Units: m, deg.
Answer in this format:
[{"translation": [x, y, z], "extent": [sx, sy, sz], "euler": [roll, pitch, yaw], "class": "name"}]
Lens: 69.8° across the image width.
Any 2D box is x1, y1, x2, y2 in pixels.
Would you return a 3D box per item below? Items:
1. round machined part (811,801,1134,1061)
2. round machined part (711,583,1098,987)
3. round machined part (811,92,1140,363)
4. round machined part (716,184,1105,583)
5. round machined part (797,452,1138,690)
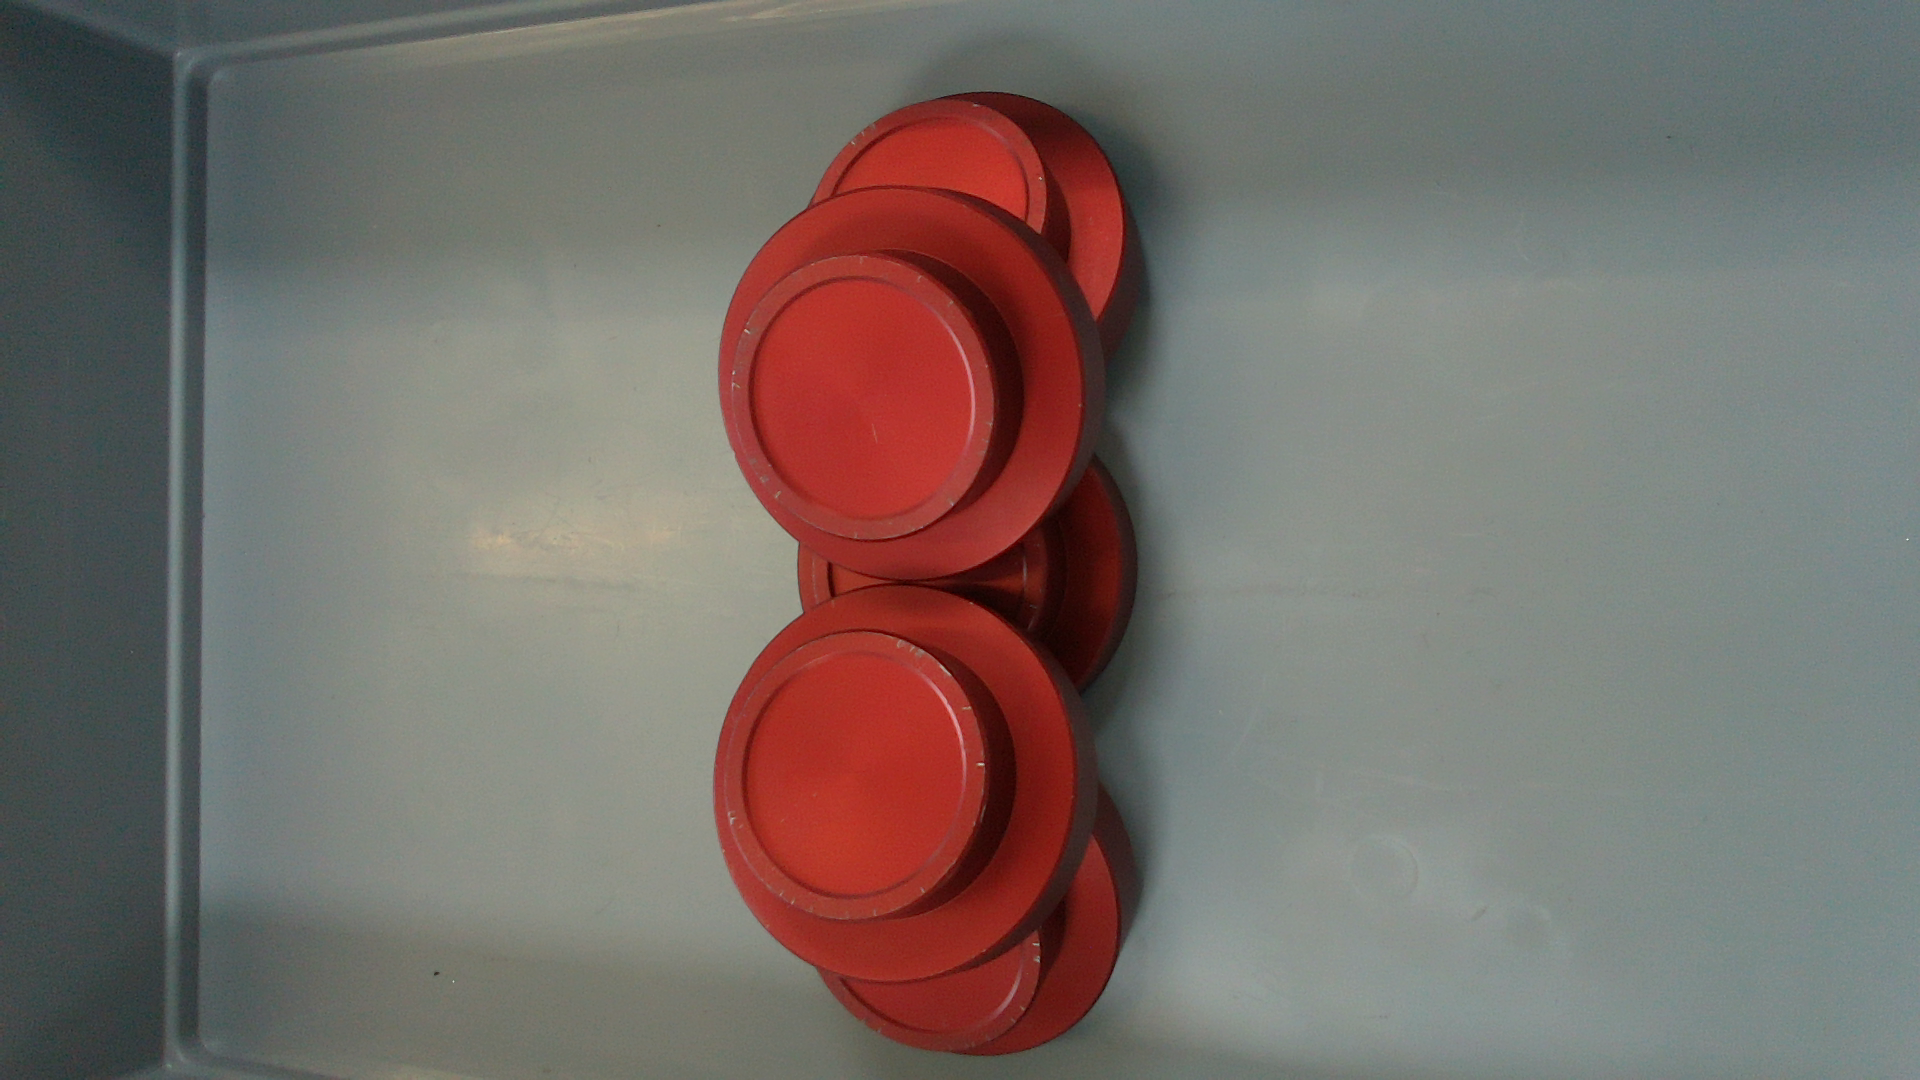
[{"translation": [-0.005, 0.099, 0.373], "extent": [0.098, 0.042, 0.098], "euler": [5, 107, 19], "class": "round machined part"}, {"translation": [-0.019, 0.059, 0.338], "extent": [0.098, 0.042, 0.098], "euler": [-4, 78, 19], "class": "round machined part"}, {"translation": [-0.003, -0.080, 0.375], "extent": [0.098, 0.042, 0.098], "euler": [-6, 72, 18], "class": "round machined part"}, {"translation": [-0.017, -0.037, 0.337], "extent": [0.098, 0.042, 0.098], "euler": [5, 104, 19], "class": "round machined part"}, {"translation": [-0.002, 0.007, 0.387], "extent": [0.098, 0.042, 0.098], "euler": [0, 89, 20], "class": "round machined part"}]
